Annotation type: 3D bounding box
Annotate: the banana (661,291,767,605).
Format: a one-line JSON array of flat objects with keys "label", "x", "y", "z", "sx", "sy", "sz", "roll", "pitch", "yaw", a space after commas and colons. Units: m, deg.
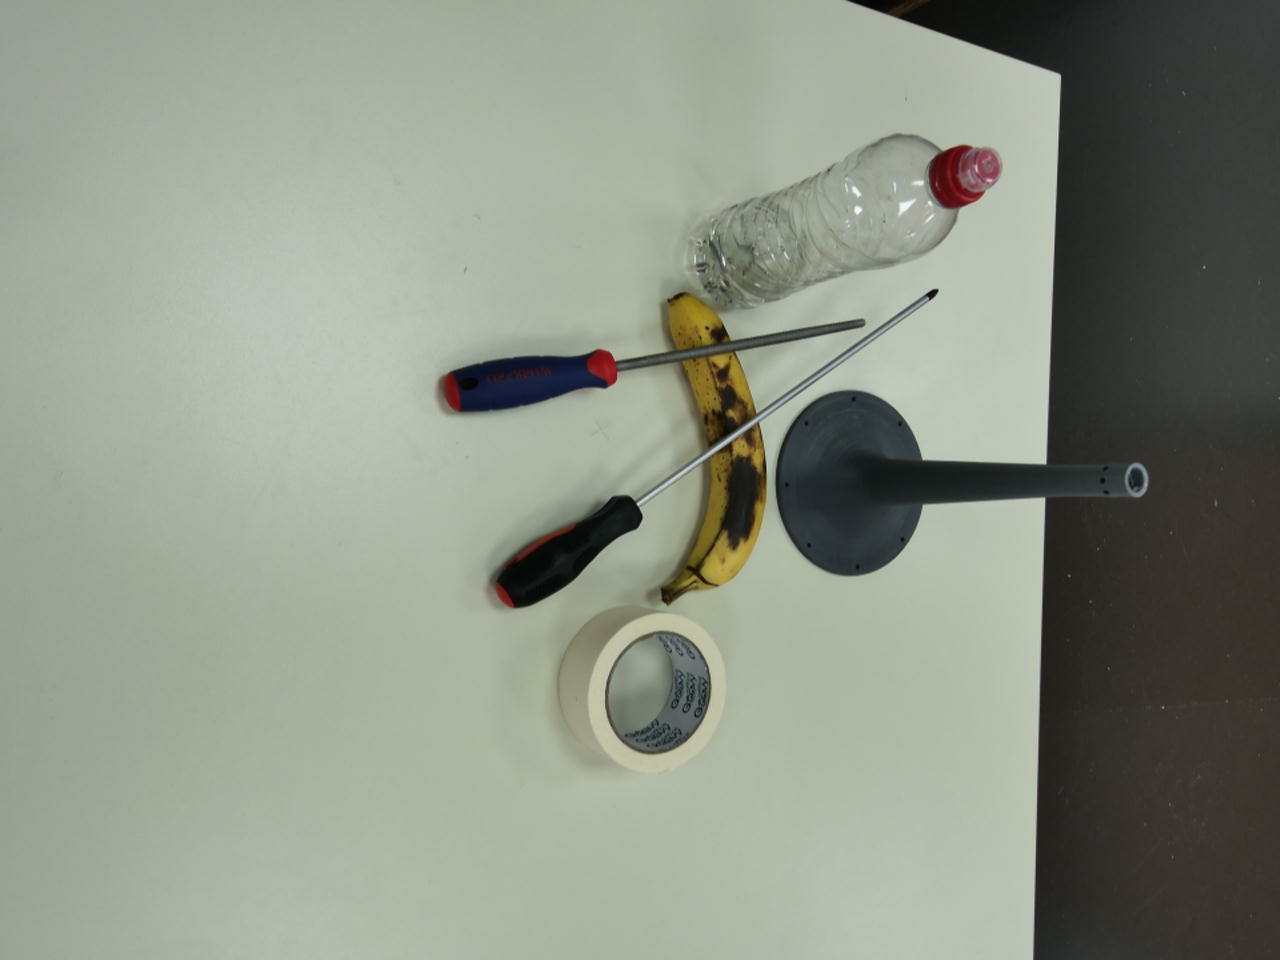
[{"label": "banana", "x": 0.055, "y": -0.021, "z": 0.722, "sx": 0.084, "sy": 0.038, "sz": 0.222, "roll": 4, "pitch": 88, "yaw": -28}]
